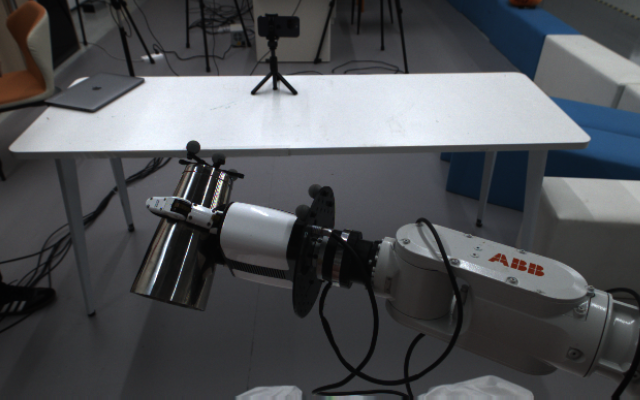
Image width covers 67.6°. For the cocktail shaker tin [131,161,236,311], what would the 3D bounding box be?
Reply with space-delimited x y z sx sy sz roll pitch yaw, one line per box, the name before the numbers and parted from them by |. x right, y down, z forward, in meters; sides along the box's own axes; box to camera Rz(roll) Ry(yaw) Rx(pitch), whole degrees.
cocktail shaker tin | -0.164 0.046 0.608 0.093 0.093 0.170 10 71 11
